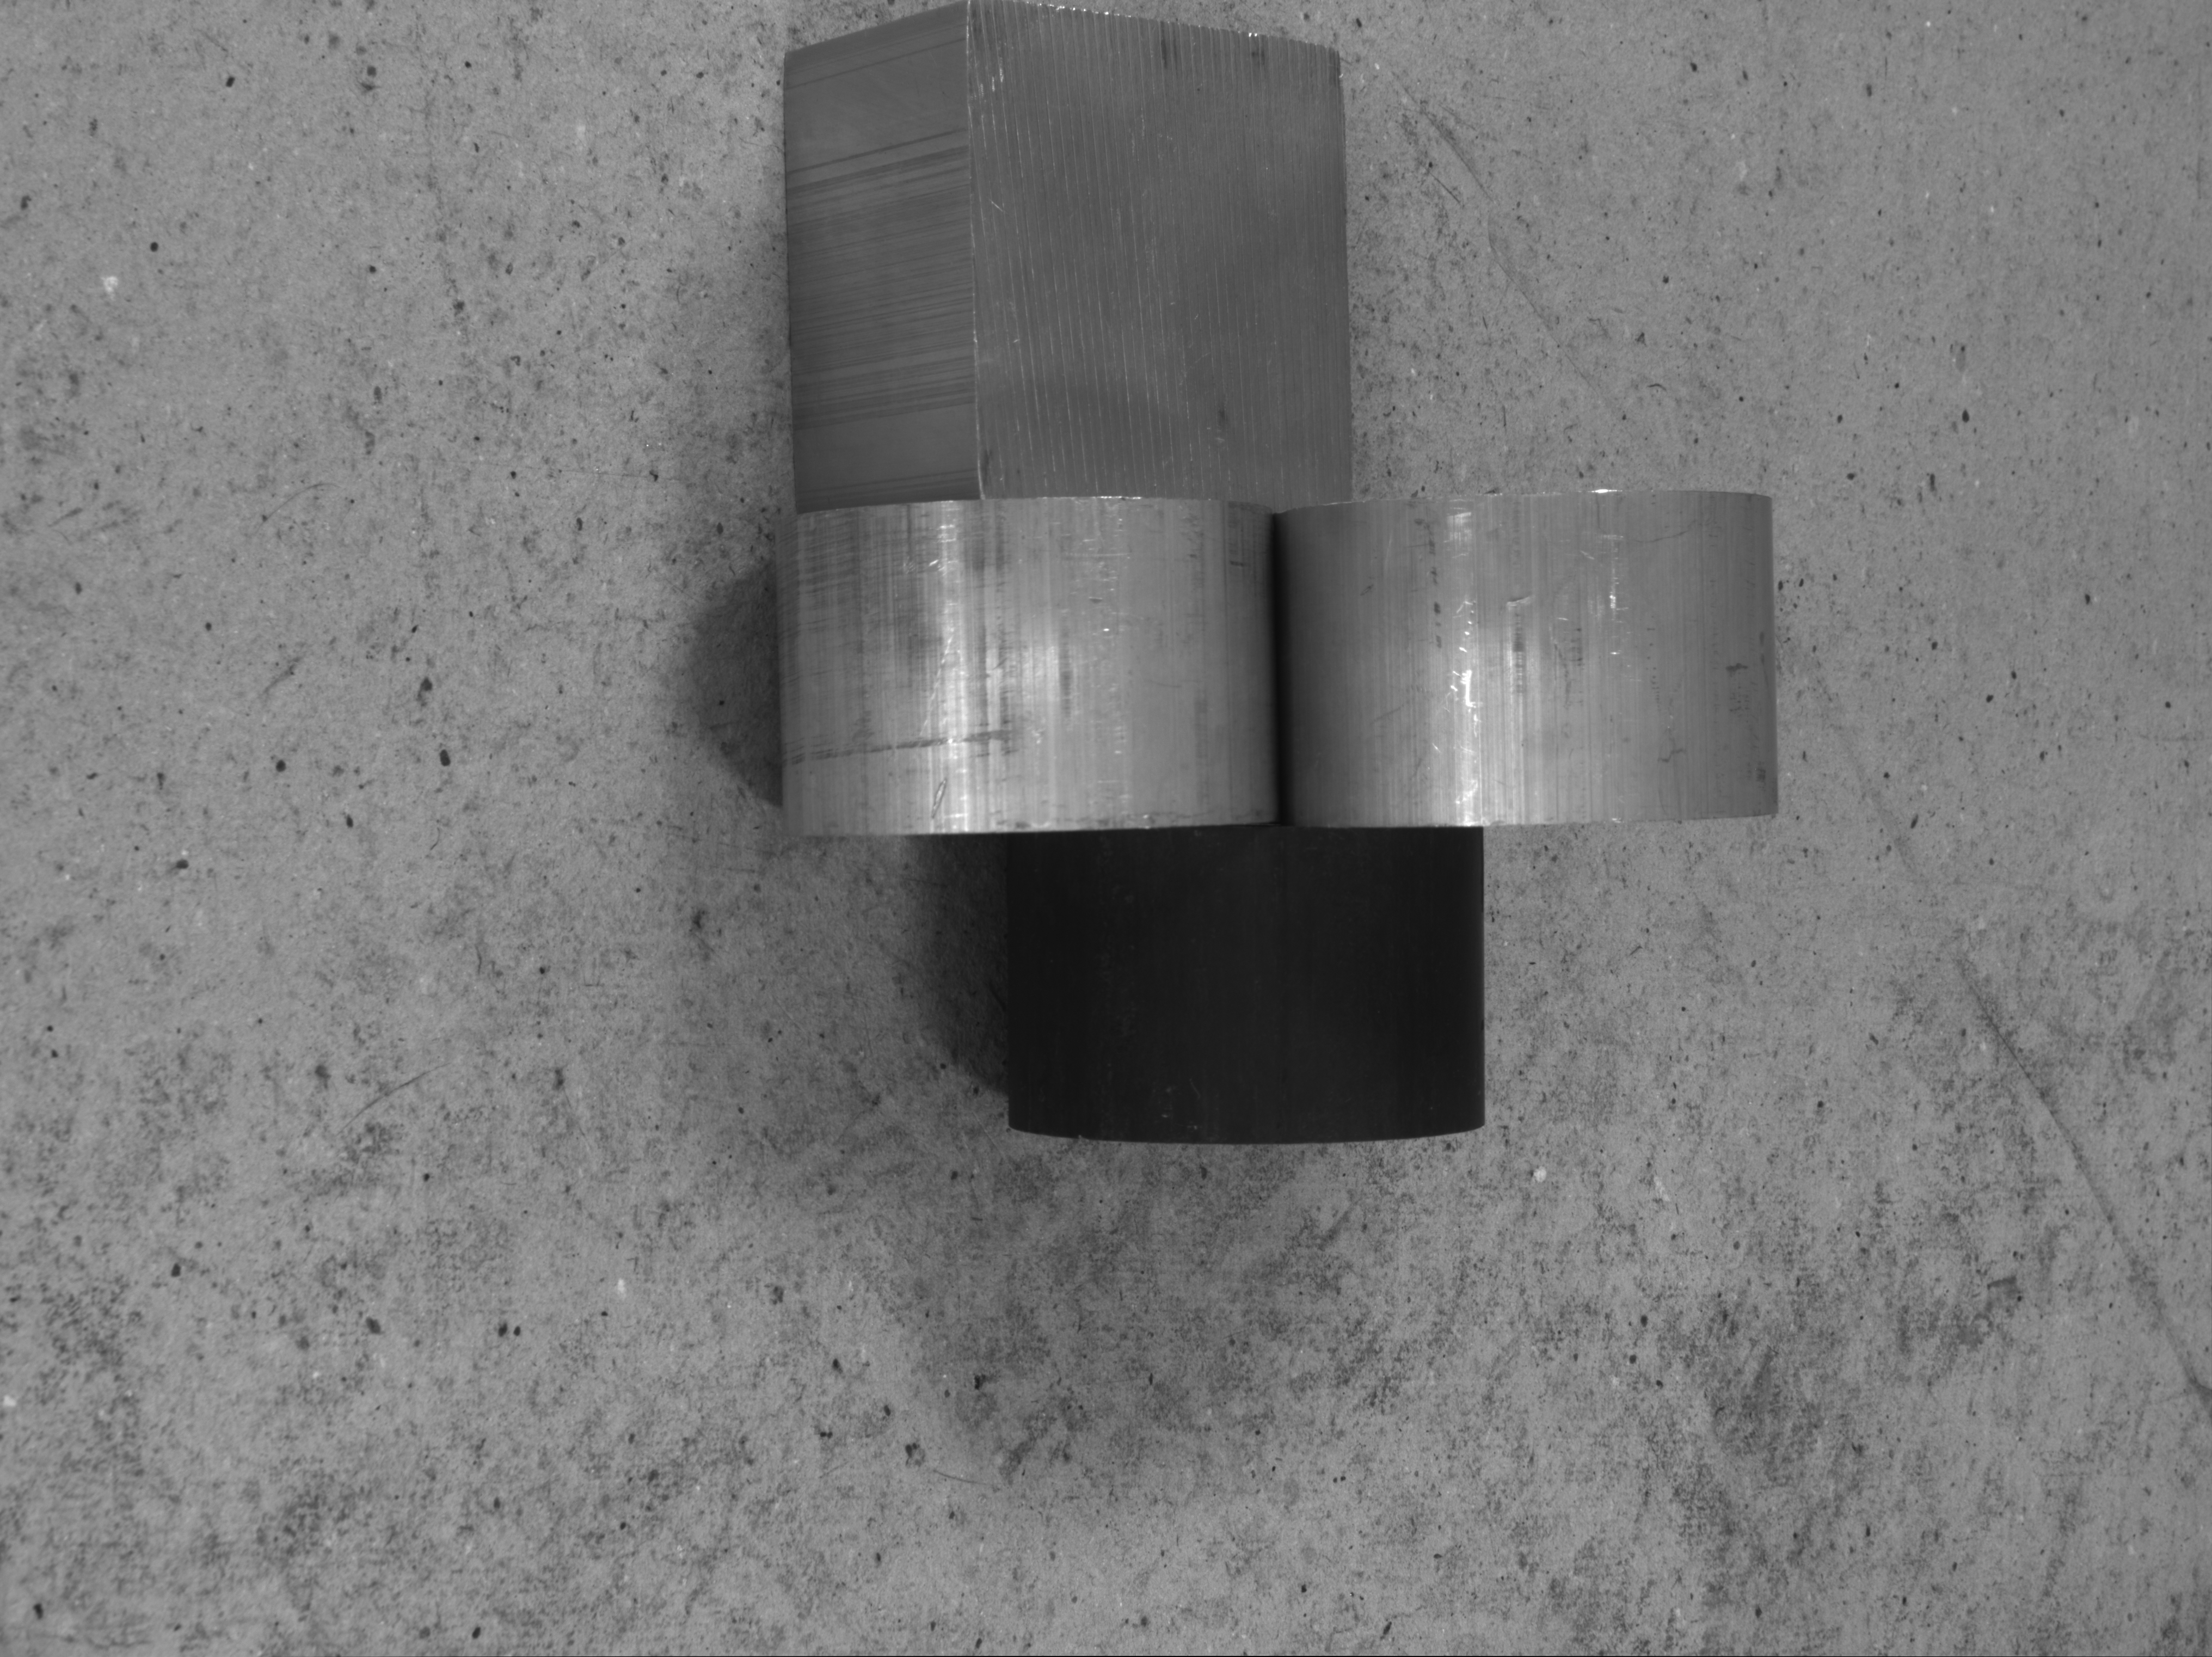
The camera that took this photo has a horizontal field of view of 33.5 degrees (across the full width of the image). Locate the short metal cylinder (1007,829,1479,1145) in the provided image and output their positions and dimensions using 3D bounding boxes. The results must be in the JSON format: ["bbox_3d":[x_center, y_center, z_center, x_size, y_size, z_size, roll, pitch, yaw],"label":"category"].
[{"bbox_3d":[0.023,0.025,0.621,0.080,0.080,0.050,0,90,-40],"label":"short metal cylinder"}]

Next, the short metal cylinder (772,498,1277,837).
[{"bbox_3d":[-0.013,-0.025,0.591,0.080,0.080,0.050,-3,92,-40],"label":"short metal cylinder"}]

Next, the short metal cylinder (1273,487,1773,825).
[{"bbox_3d":[0.066,-0.027,0.592,0.080,0.080,0.050,-3,92,-40],"label":"short metal cylinder"}]

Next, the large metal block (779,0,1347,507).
[{"bbox_3d":[-0.006,-0.091,0.616,0.080,0.050,0.080,-2,91,-40],"label":"large metal block"}]

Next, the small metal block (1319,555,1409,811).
[{"bbox_3d":[0.027,-0.026,0.646,0.025,0.050,0.050,1,89,-40],"label":"small metal block"}]
